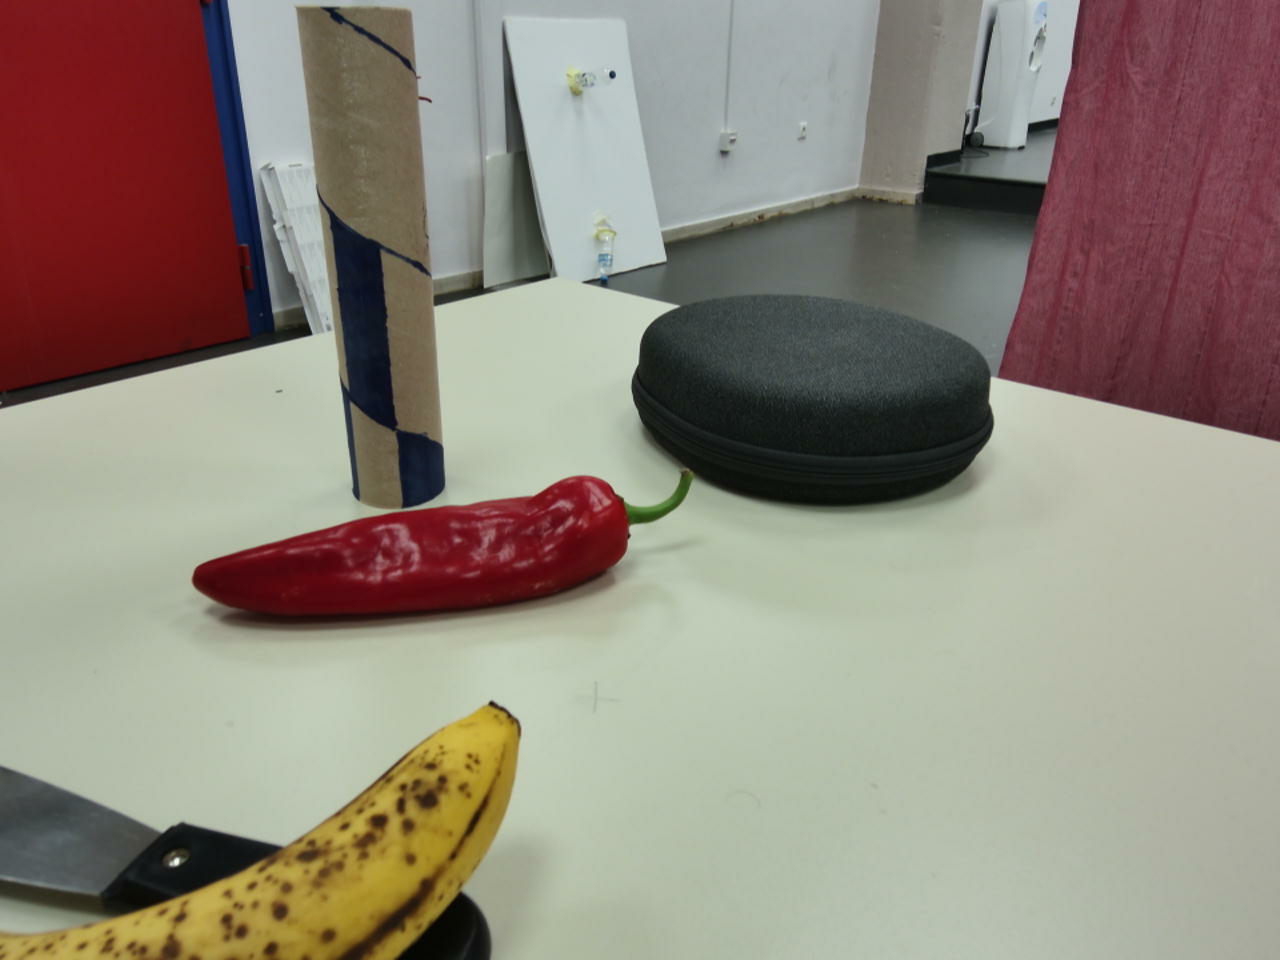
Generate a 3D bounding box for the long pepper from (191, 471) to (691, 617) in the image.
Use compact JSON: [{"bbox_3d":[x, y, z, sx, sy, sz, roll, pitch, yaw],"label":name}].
[{"bbox_3d":[-0.073,0.028,0.416,0.211,0.043,0.050,-7,24,-18],"label":"long pepper"}]
